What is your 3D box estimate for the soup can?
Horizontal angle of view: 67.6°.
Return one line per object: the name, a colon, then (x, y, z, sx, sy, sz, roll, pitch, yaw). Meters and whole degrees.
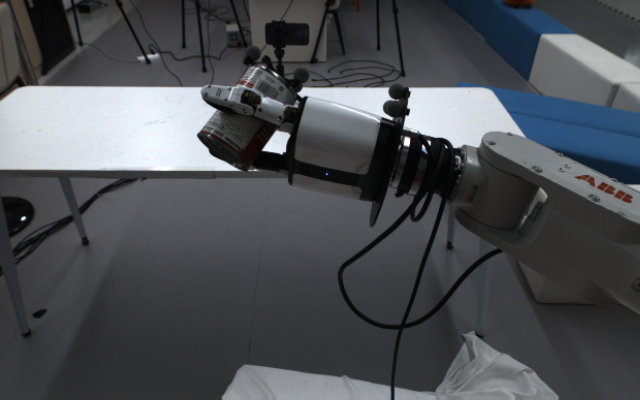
soup can: (-0.080, -0.093, 0.548, 0.067, 0.067, 0.101, 26, 75, 31)
